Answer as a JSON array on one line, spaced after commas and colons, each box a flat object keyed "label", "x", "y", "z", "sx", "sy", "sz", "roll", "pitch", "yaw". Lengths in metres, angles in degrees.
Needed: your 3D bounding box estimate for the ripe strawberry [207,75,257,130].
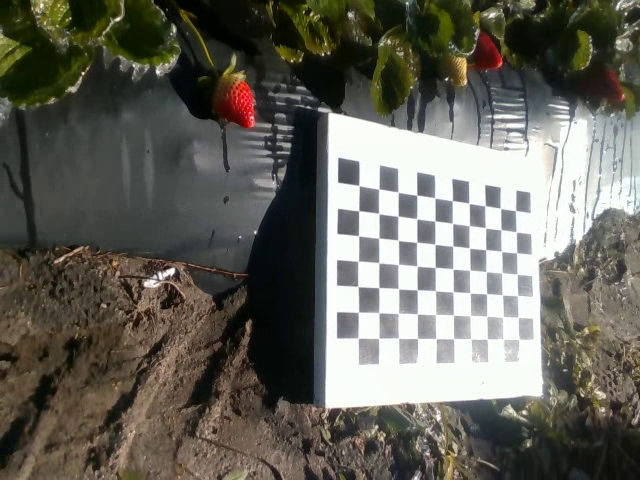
[{"label": "ripe strawberry", "x": -0.068, "y": -0.113, "z": 0.499, "sx": 0.039, "sy": 0.053, "sz": 0.040, "roll": -20, "pitch": -11, "yaw": -31}]
